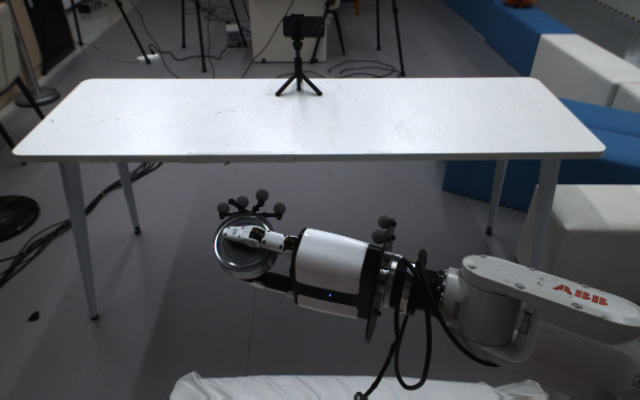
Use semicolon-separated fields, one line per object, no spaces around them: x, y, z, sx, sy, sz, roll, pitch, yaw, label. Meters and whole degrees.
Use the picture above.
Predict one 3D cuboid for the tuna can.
-0.097;0.066;0.645;0.085;0.034;0.085;-1;58;2;tuna can
